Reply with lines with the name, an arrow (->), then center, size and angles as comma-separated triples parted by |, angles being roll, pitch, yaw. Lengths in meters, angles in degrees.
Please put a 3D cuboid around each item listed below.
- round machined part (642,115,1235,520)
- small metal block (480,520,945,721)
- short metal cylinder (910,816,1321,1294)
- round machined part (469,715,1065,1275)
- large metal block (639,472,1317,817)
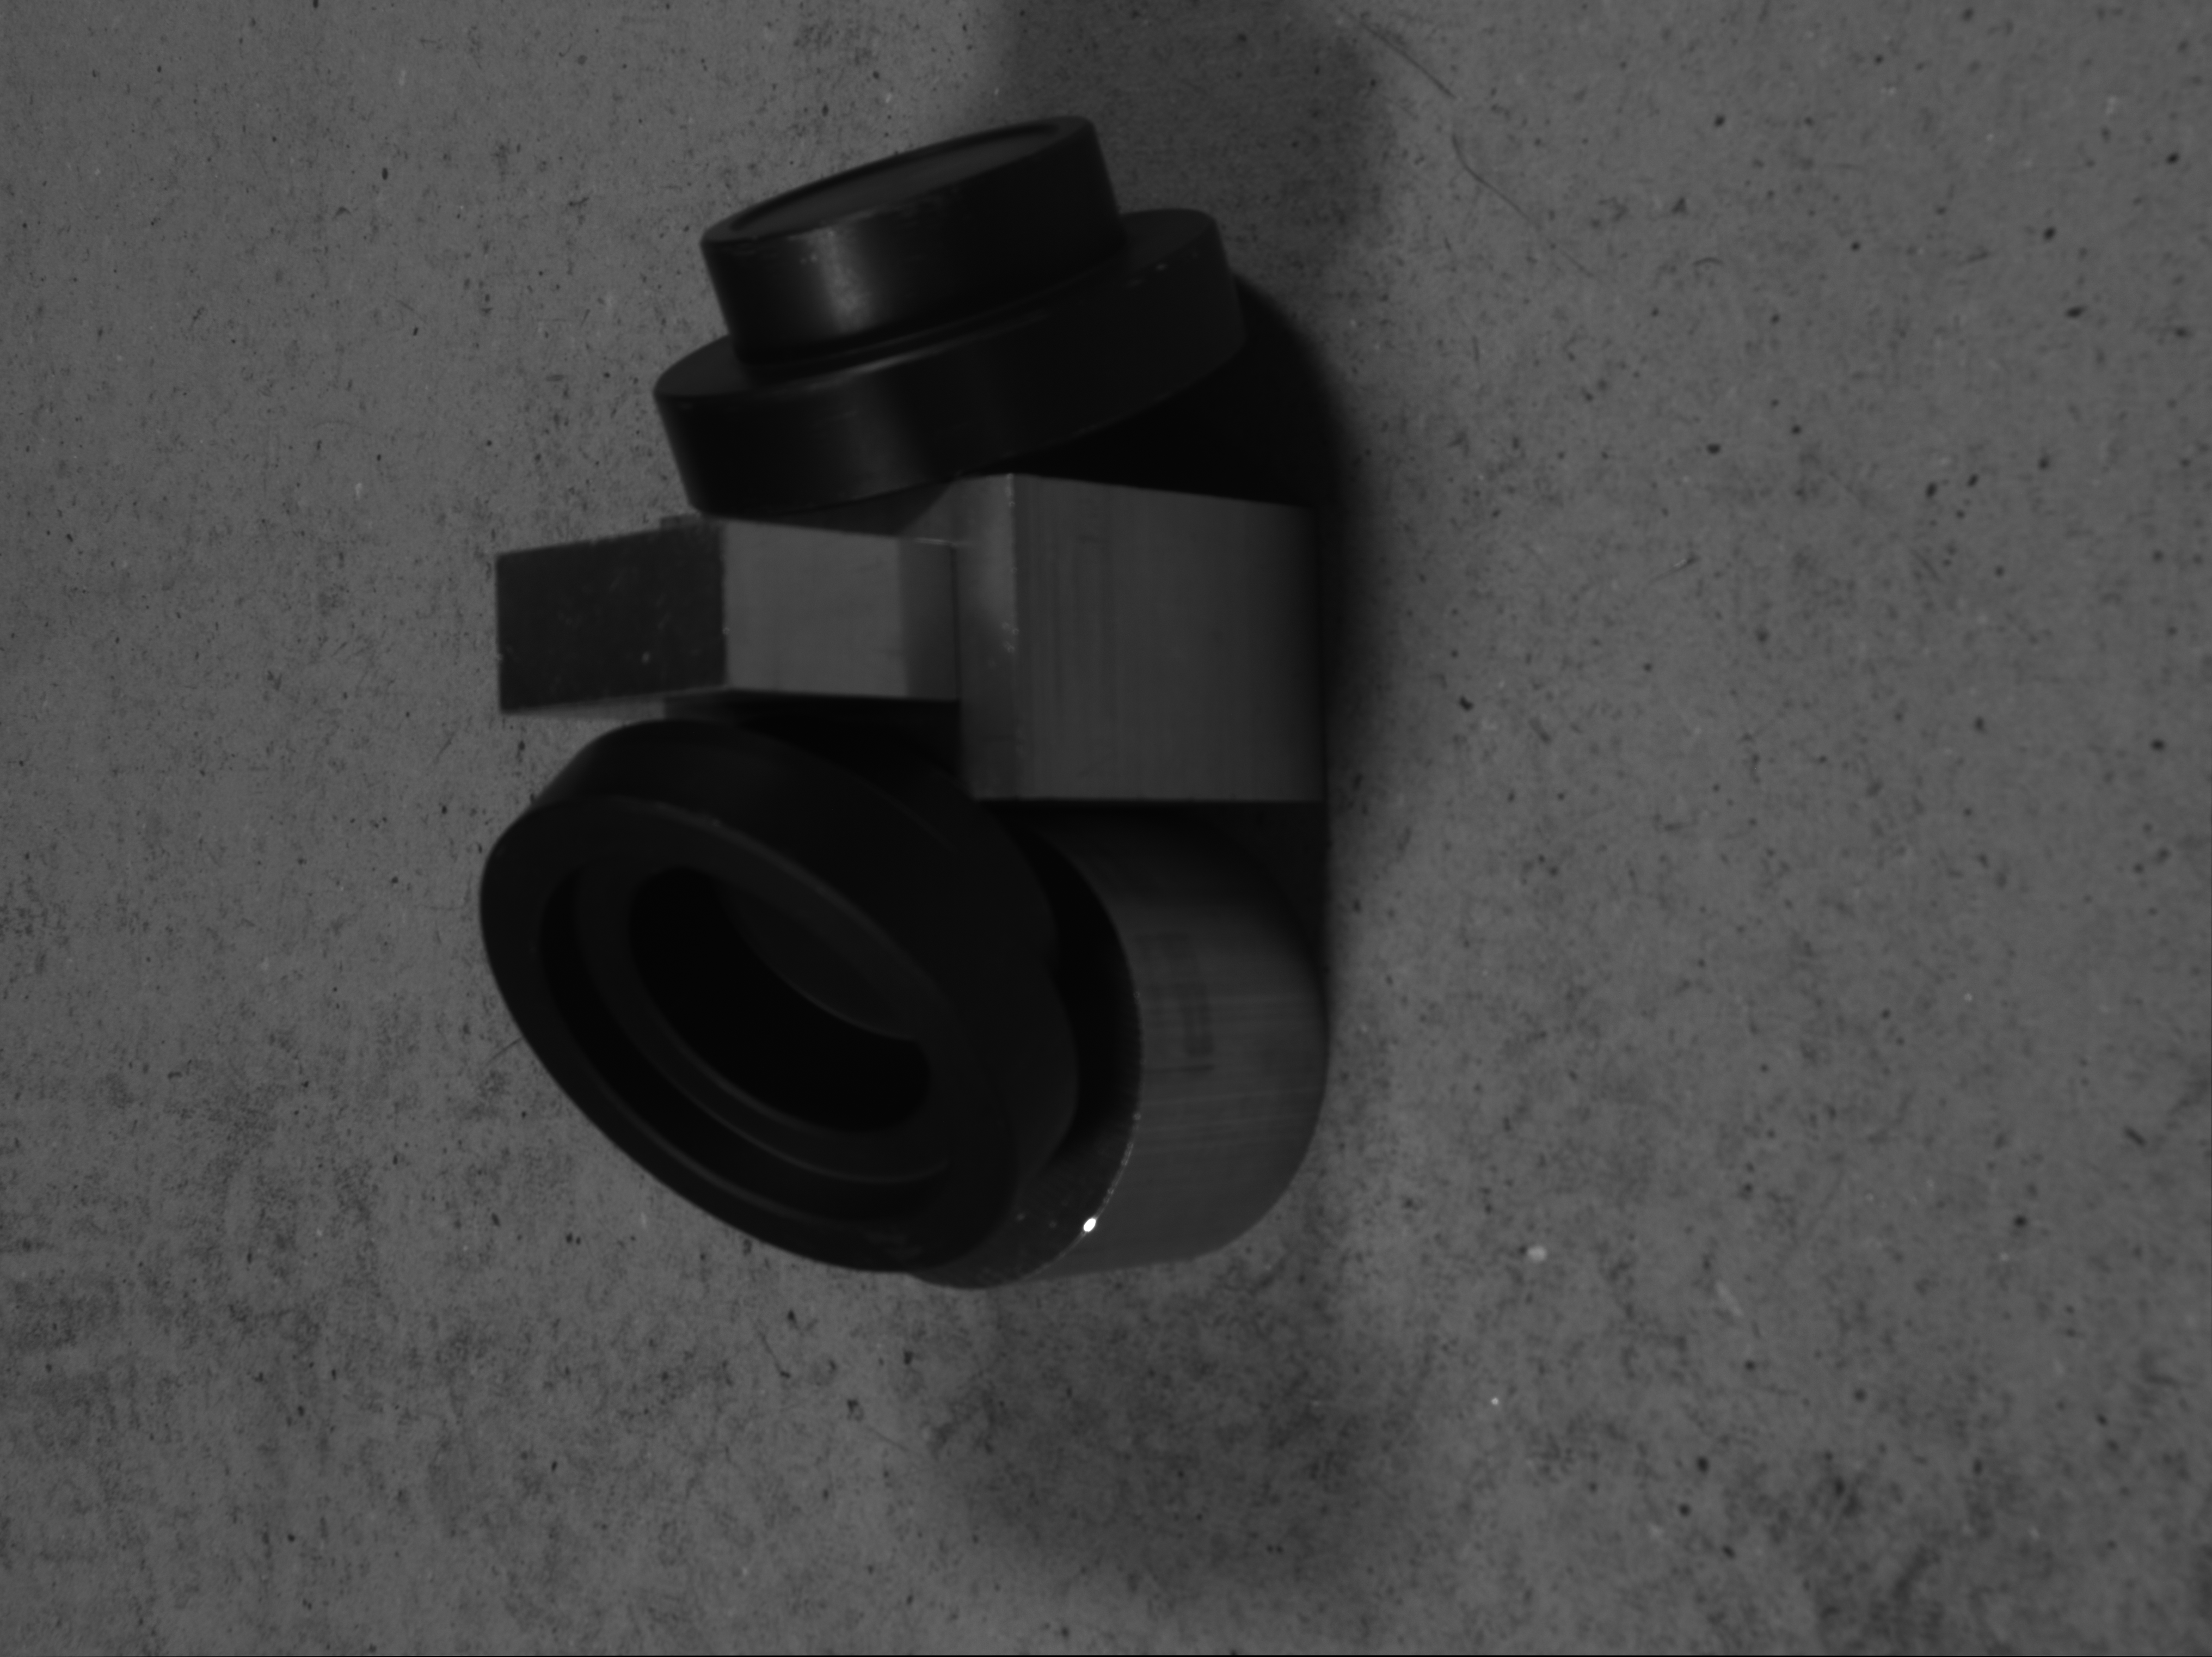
round machined part -> -0.031, -0.088, 0.610 | 0.098, 0.098, 0.042 | -3, 113, 39
small metal block -> -0.061, -0.031, 0.566 | 0.050, 0.050, 0.025 | -4, 87, 39
short metal cylinder -> -0.010, 0.038, 0.630 | 0.080, 0.050, 0.080 | 0, 90, 39
round machined part -> -0.049, 0.021, 0.580 | 0.098, 0.042, 0.098 | 21, 139, 20
large metal block -> -0.021, -0.028, 0.617 | 0.080, 0.080, 0.050 | -3, 88, 39
